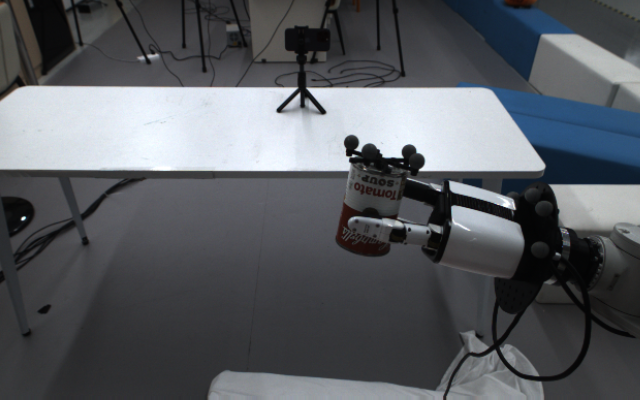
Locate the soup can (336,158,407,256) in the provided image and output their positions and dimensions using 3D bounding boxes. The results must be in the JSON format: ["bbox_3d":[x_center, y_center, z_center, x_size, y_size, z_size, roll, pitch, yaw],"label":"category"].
[{"bbox_3d":[0.062,0.005,0.570,0.067,0.101,0.067,9,20,-3],"label":"soup can"}]
